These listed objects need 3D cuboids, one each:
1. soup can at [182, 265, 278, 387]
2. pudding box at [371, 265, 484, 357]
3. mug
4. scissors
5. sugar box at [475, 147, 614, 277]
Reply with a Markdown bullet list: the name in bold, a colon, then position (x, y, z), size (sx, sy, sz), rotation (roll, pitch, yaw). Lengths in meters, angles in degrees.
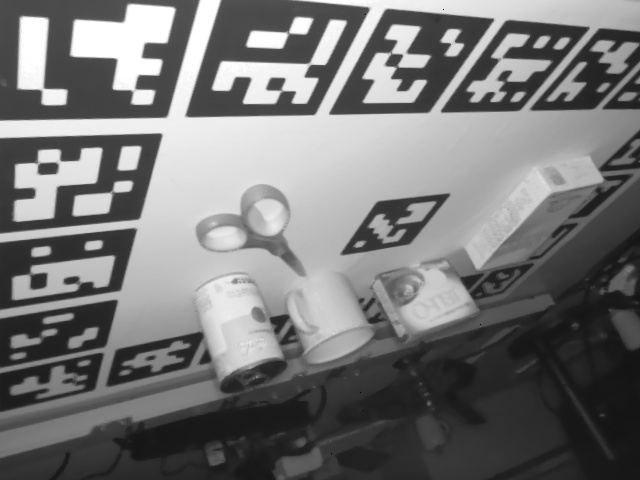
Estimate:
- **soup can**: position (-0.091, 0.085, 0.691), size (0.068, 0.102, 0.067), rotation (-20, 149, -11)
- **pudding box**: position (0.131, 0.085, 0.847), size (0.115, 0.090, 0.038), rotation (-12, 140, -21)
- **mug**: position (-0.003, 0.096, 0.778), size (0.093, 0.081, 0.117), rotation (-30, 150, 0)
- **scissors**: position (-0.055, -0.004, 0.654), size (0.088, 0.016, 0.203), rotation (-39, 147, 2)
- **sugar box**: position (0.265, -0.031, 0.834), size (0.094, 0.045, 0.174), rotation (-11, 143, -28)
